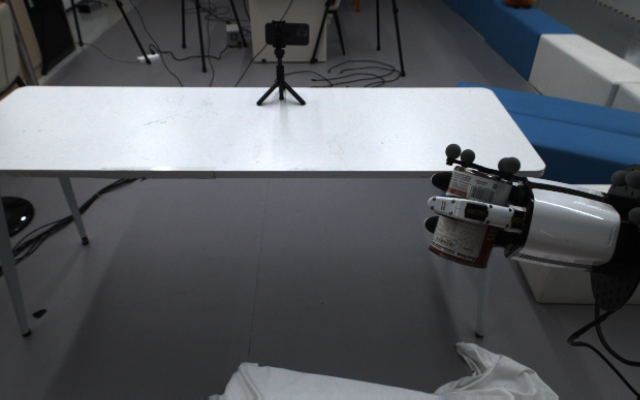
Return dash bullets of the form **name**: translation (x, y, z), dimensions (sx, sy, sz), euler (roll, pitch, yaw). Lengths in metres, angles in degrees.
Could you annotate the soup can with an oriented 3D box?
- **soup can**: translation (0.174, 0.018, 0.555), dimensions (0.067, 0.101, 0.067), euler (15, 7, -2)
